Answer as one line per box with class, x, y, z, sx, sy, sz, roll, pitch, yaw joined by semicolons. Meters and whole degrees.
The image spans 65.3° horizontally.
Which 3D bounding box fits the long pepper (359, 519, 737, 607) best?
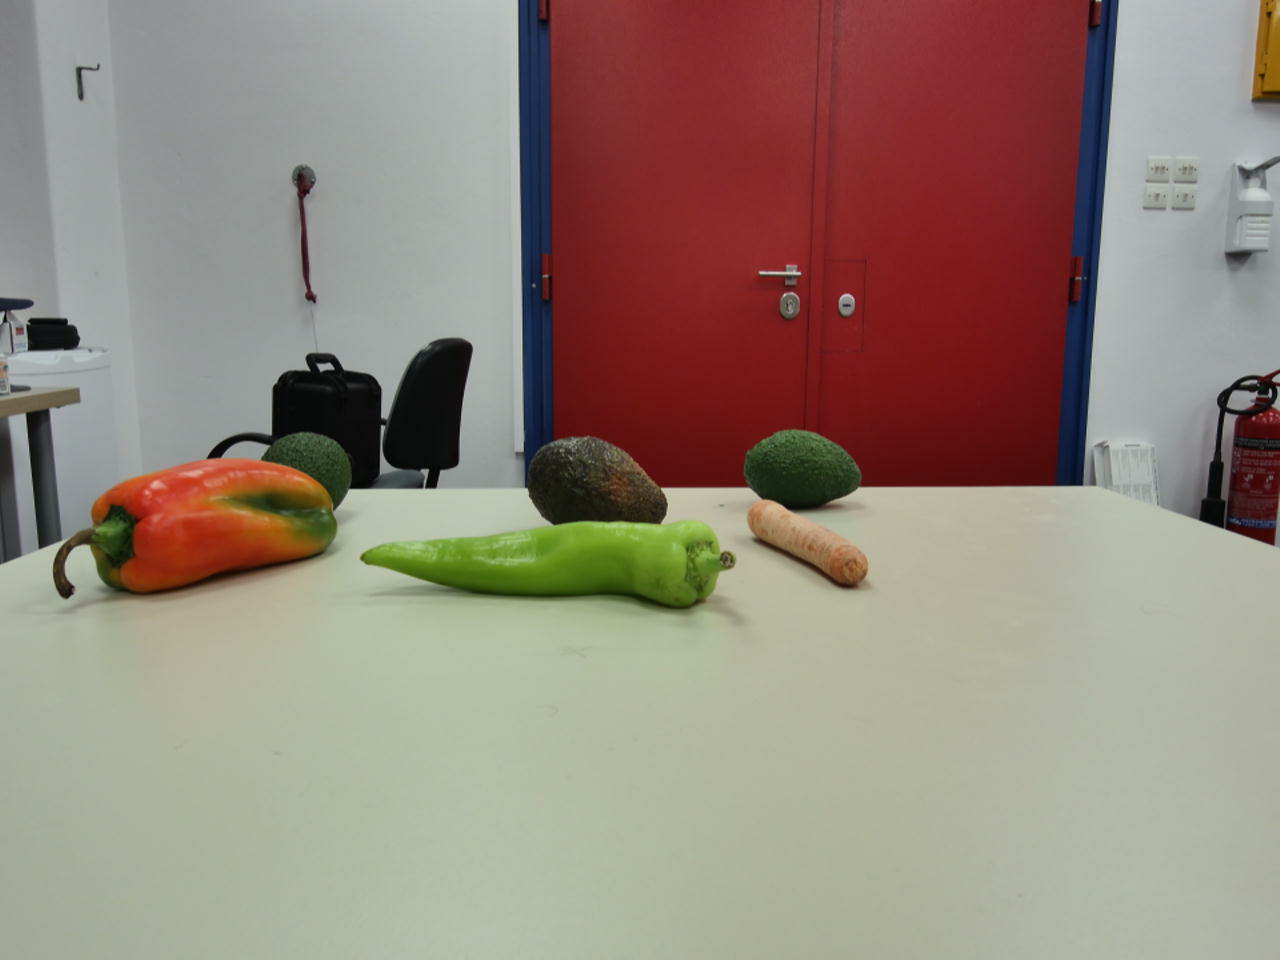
long pepper;-0.044;0.042;0.542;0.205;0.045;0.065;1;7;15
